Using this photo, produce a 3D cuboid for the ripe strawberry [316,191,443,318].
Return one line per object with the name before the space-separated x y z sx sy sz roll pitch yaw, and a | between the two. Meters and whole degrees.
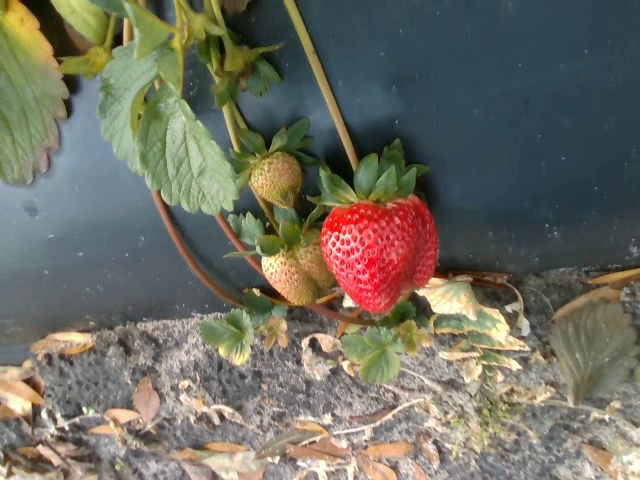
ripe strawberry | 0.026 0.012 0.271 0.066 0.053 0.074 -17 -39 29
